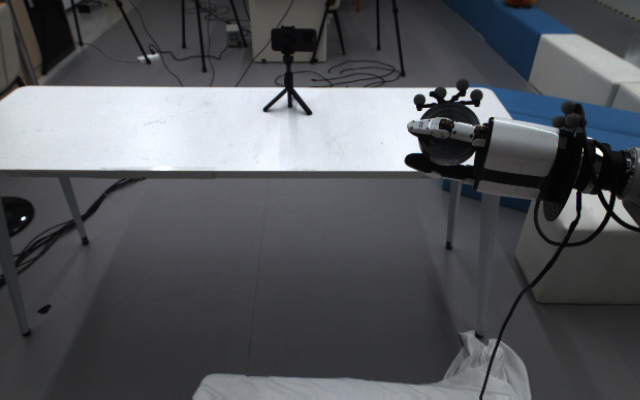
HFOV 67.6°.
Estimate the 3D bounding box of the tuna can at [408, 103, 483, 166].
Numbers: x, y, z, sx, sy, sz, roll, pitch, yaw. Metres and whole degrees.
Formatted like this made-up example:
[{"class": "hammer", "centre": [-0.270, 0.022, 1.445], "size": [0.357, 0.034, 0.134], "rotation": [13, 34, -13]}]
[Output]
[{"class": "tuna can", "centre": [0.182, -0.093, 0.688], "size": [0.085, 0.034, 0.085], "rotation": [-4, 73, 15]}]
